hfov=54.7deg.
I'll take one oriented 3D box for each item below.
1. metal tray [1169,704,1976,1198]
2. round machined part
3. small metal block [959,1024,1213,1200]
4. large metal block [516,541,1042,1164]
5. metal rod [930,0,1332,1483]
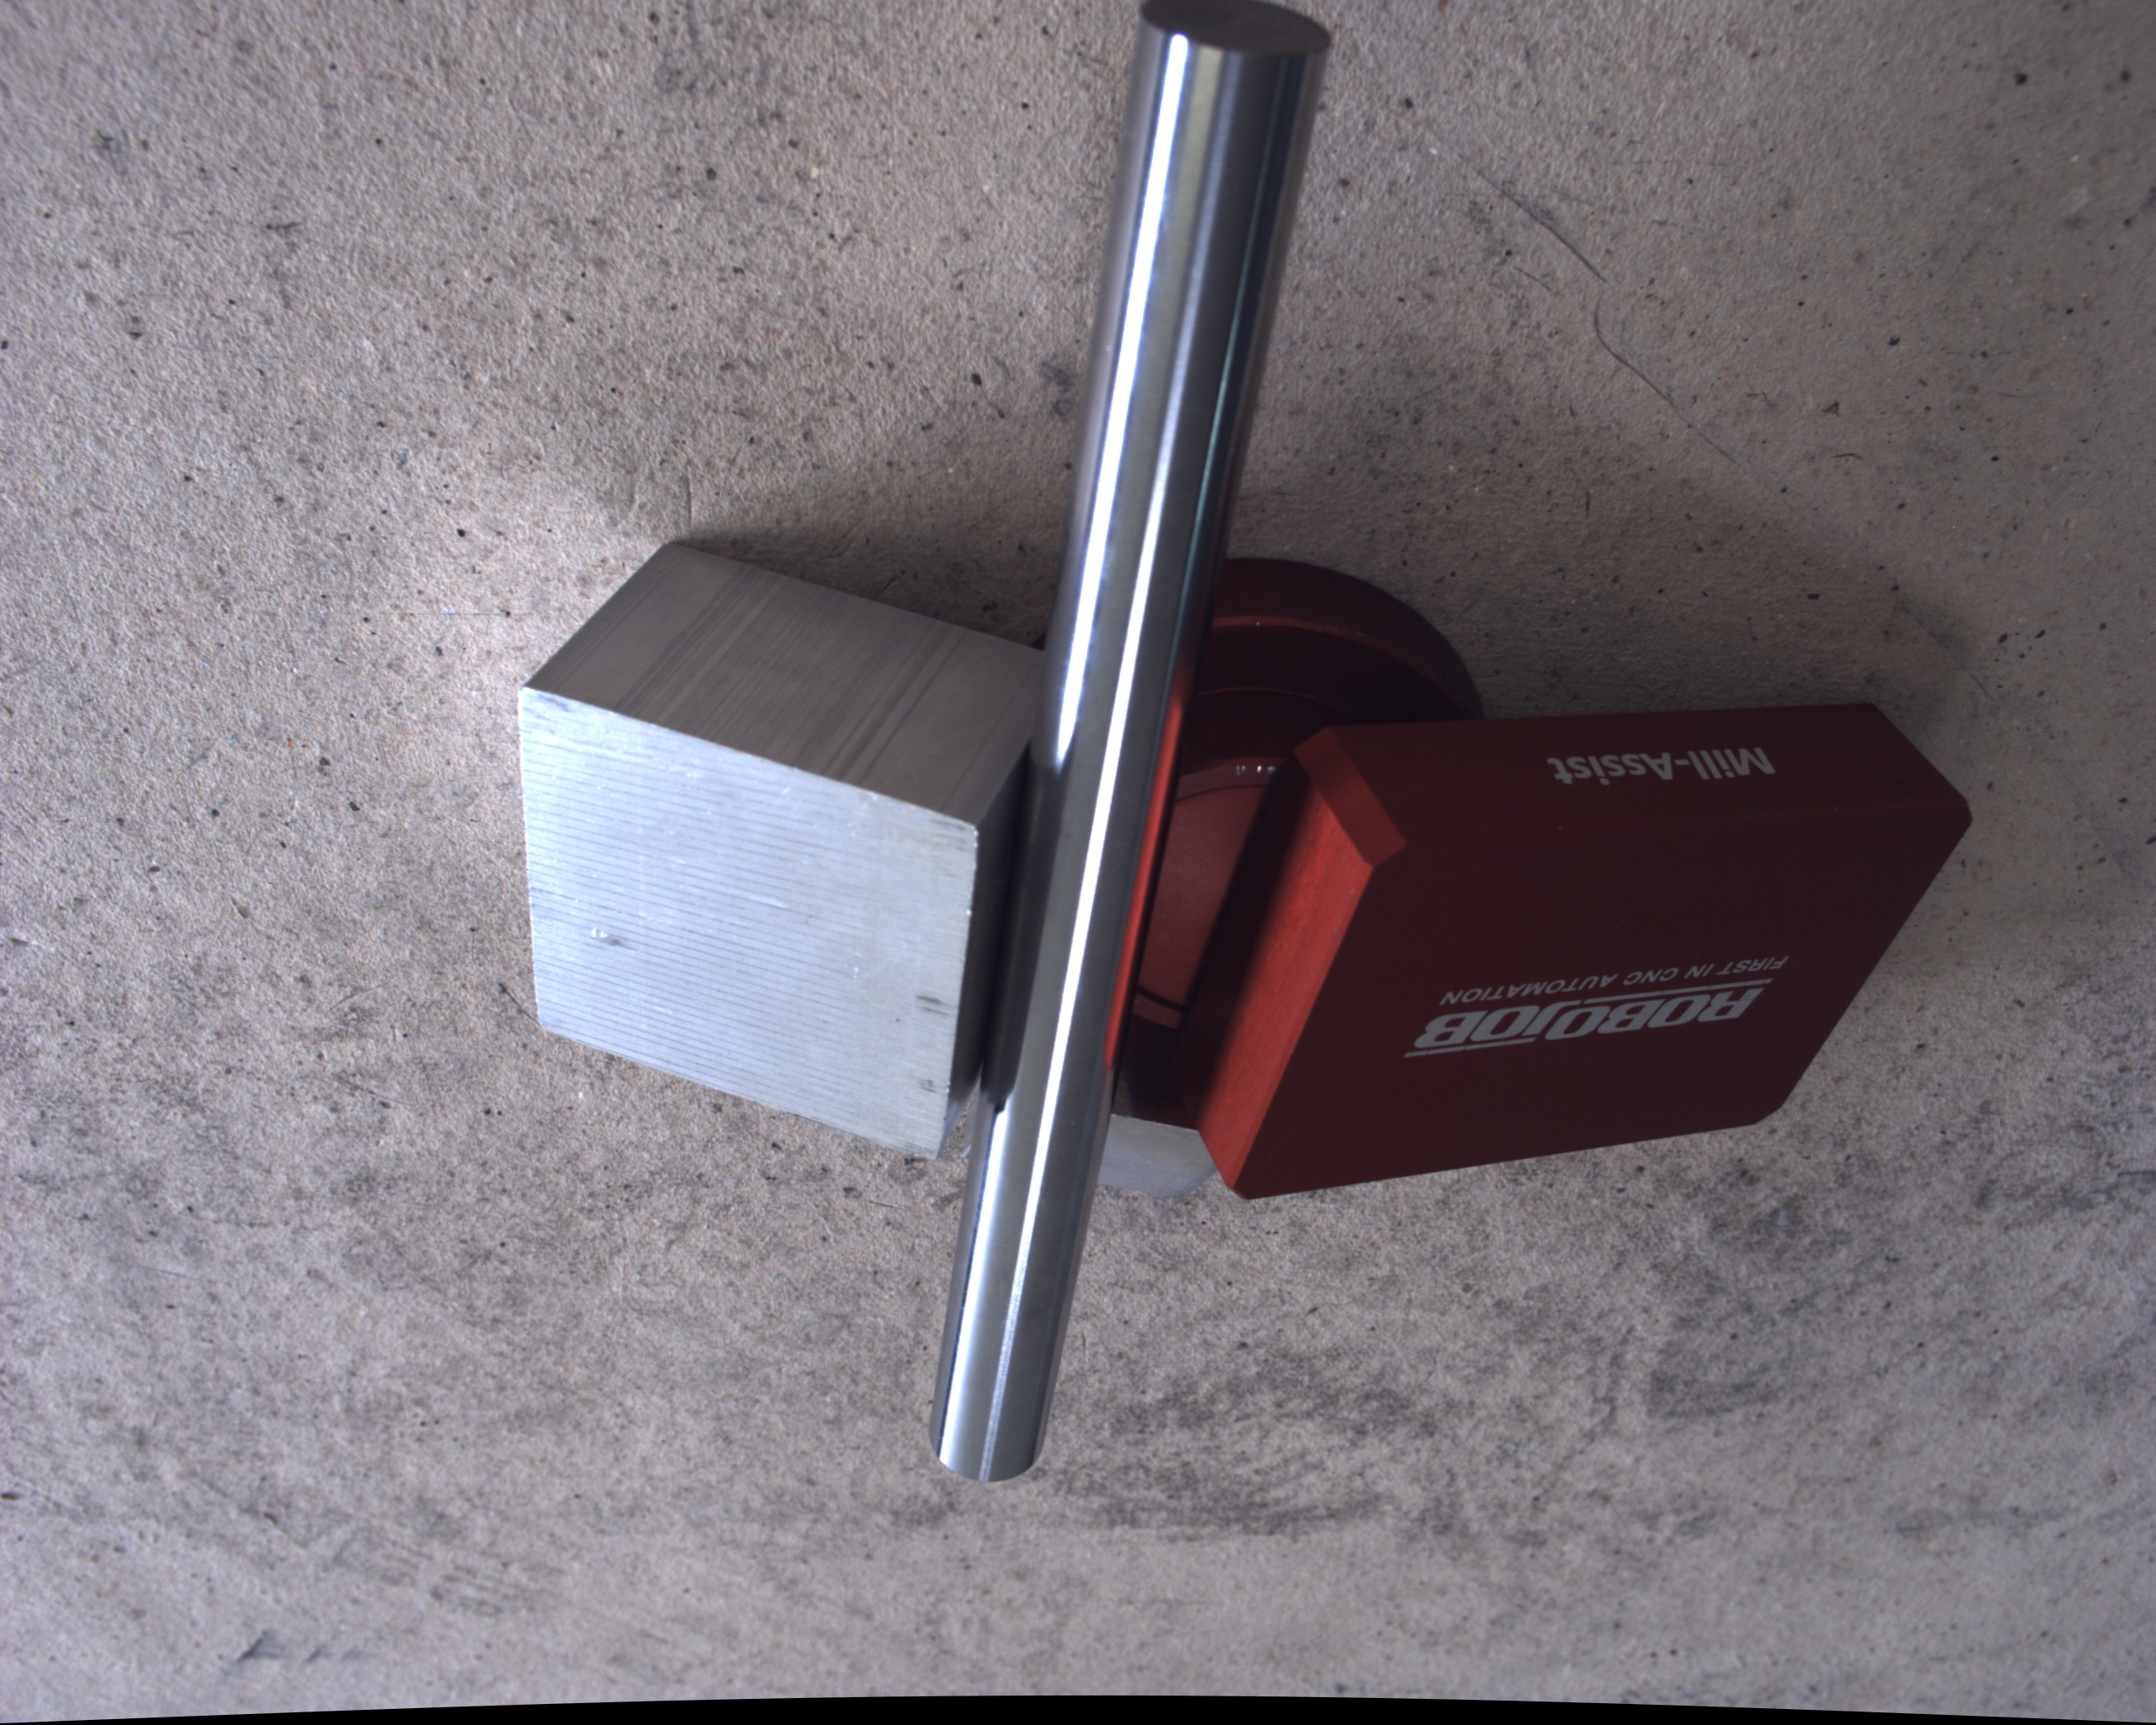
[{"bbox_3d":[0.091,0.016,0.391,0.131,0.030,0.089,-4,134,-24],"label":"metal tray"},{"bbox_3d":[0.031,-0.005,0.393,0.099,0.042,0.097,0,130,0],"label":"round machined part"},{"bbox_3d":[0.006,0.049,0.437,0.050,0.025,0.050,12,155,-10],"label":"small metal block"},{"bbox_3d":[-0.050,-0.002,0.376,0.080,0.050,0.079,17,130,9],"label":"large metal block"},{"bbox_3d":[0.000,0.008,0.360,0.025,0.025,0.298,6,128,-5],"label":"metal rod"}]
